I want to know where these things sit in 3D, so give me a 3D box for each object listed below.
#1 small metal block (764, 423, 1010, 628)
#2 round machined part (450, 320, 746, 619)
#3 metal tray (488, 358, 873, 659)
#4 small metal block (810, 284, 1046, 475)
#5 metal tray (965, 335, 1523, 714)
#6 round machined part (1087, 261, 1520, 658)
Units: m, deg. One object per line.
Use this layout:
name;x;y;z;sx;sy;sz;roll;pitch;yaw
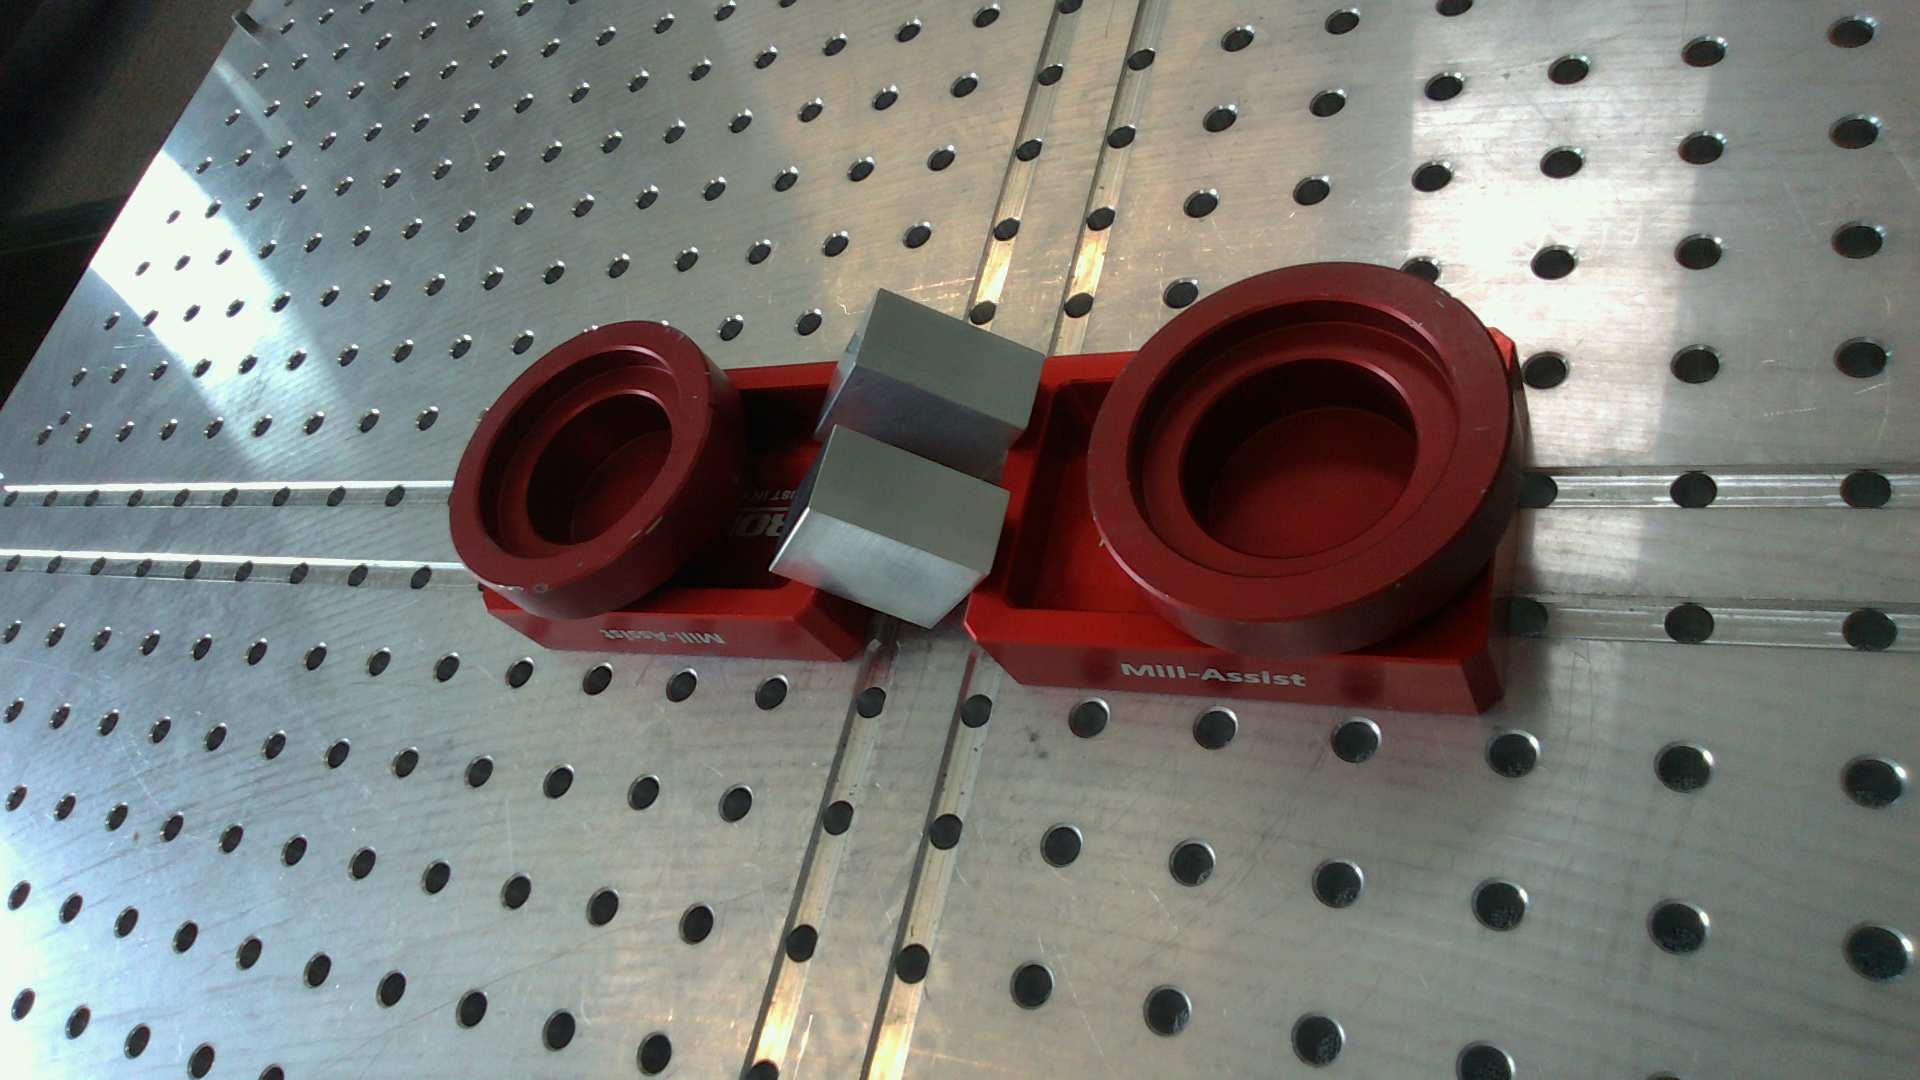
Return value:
small metal block;-0.021;-0.002;0.374;0.050;0.050;0.025;135;153;-62
round machined part;-0.110;-0.019;0.441;0.098;0.042;0.098;-13;56;21
metal tray;-0.083;-0.010;0.446;0.130;0.030;0.090;-1;63;28
small metal block;-0.010;-0.041;0.393;0.050;0.050;0.025;135;153;-62
metal tray;0.073;-0.006;0.358;0.130;0.030;0.090;1;62;29
round machined part;0.084;-0.016;0.334;0.098;0.042;0.098;-13;56;21
